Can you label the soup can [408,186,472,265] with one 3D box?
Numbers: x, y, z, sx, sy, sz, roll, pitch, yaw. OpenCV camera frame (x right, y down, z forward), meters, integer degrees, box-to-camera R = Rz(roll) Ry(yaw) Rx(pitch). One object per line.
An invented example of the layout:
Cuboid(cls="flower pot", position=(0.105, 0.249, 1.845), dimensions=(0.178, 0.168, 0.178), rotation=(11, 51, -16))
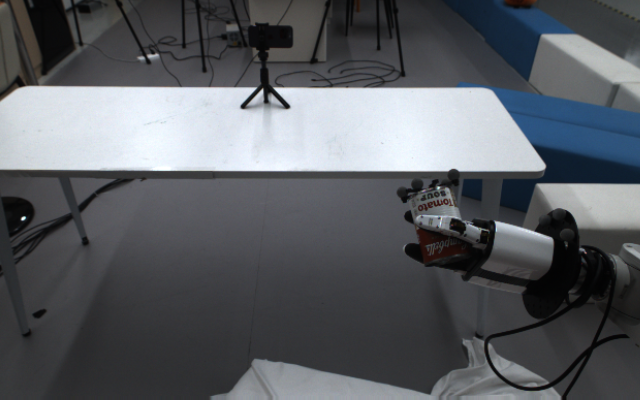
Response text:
Cuboid(cls="soup can", position=(0.172, 0.037, 0.695), dimensions=(0.067, 0.067, 0.101), rotation=(-8, 74, -14))
